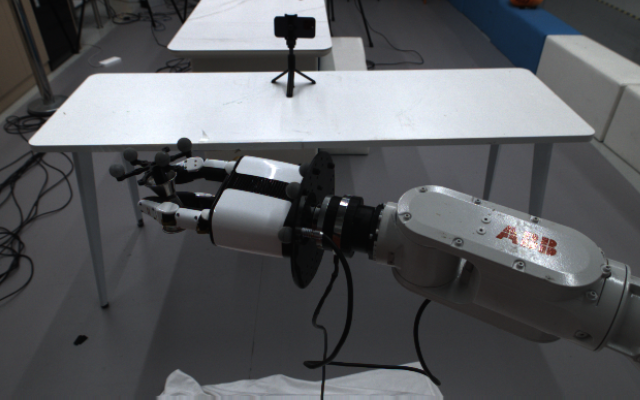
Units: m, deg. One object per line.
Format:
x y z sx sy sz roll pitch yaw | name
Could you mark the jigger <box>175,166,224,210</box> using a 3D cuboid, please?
-0.183 0.002 0.600 0.043 0.071 0.043 -10 32 6 | jigger
